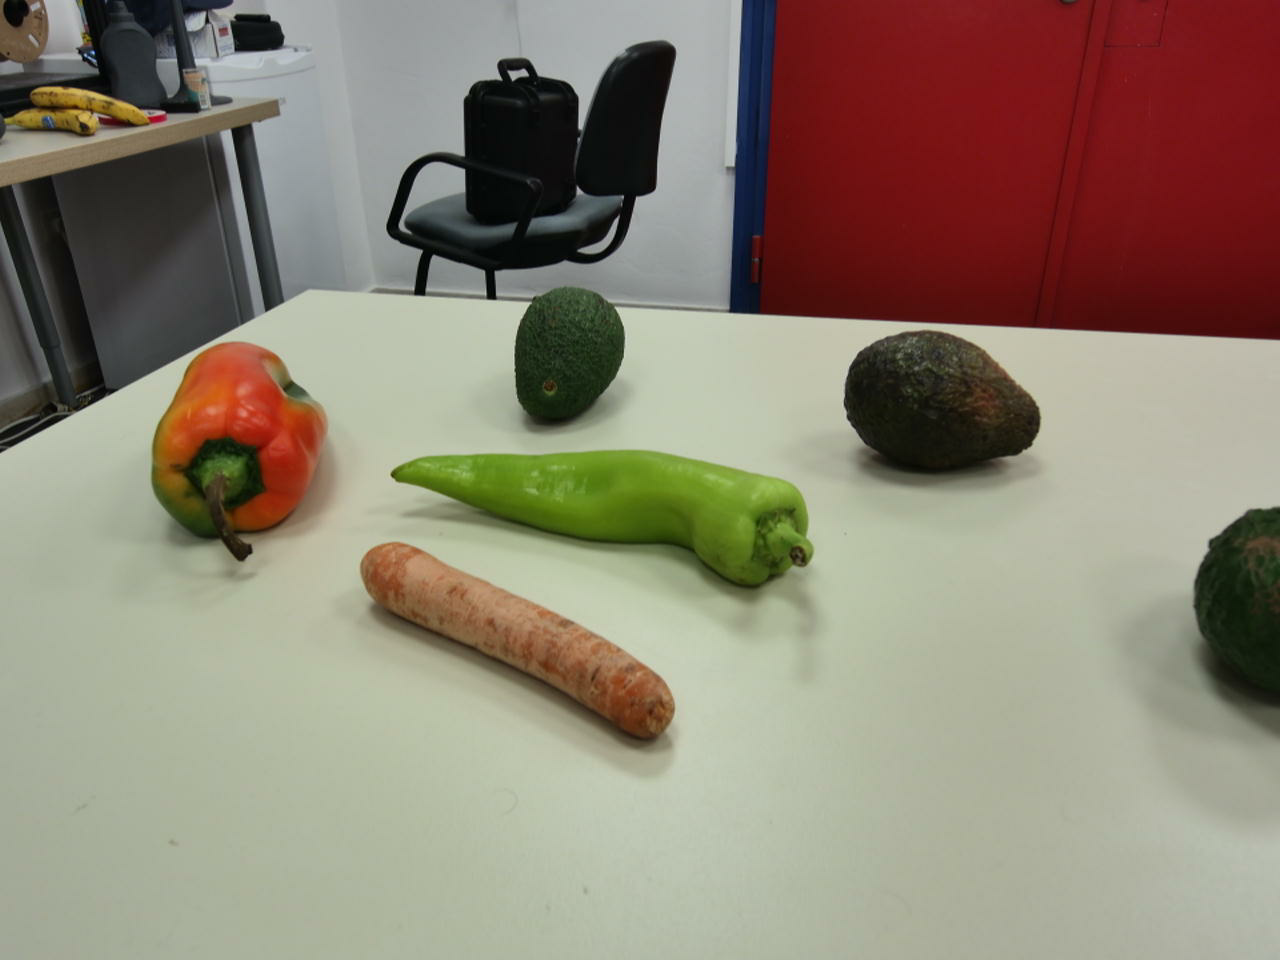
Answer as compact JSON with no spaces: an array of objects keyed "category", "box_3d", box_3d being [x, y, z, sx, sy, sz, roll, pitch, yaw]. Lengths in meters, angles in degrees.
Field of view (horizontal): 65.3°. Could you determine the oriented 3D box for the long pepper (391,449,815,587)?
[{"category":"long pepper","box_3d":[-0.013,0.007,0.441,0.205,0.045,0.065,13,27,27]}]
